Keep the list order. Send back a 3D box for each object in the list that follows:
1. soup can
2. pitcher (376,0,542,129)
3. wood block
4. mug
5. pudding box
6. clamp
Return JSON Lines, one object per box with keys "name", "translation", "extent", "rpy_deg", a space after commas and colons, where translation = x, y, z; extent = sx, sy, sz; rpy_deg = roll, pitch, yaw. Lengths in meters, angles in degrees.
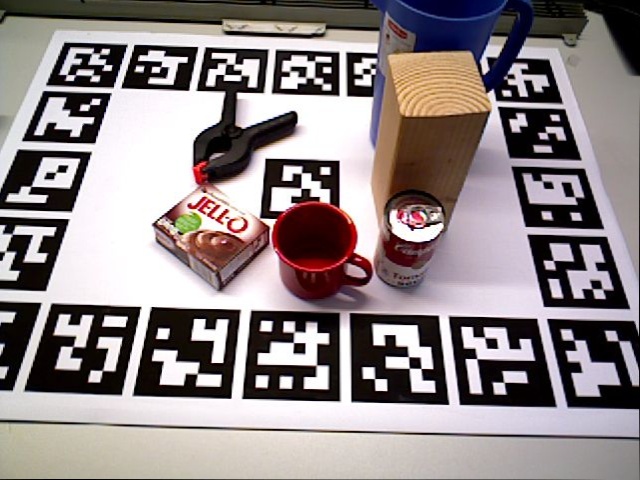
{"name": "soup can", "translation": [0.094, 0.002, 0.594], "extent": [0.067, 0.104, 0.067], "rpy_deg": [0, 58, -1]}
{"name": "pitcher", "translation": [0.144, -0.209, 0.650], "extent": [0.188, 0.247, 0.131], "rpy_deg": [1, 54, 2]}
{"name": "wood block", "translation": [0.116, -0.101, 0.598], "extent": [0.089, 0.211, 0.089], "rpy_deg": [2, 56, -5]}
{"name": "mug", "translation": [0.000, 0.021, 0.594], "extent": [0.117, 0.083, 0.091], "rpy_deg": [33, 59, 20]}
{"name": "pudding box", "translation": [-0.140, -0.010, 0.642], "extent": [0.114, 0.039, 0.088], "rpy_deg": [35, 66, 21]}
{"name": "clamp", "translation": [-0.114, -0.139, 0.733], "extent": [0.122, 0.037, 0.162], "rpy_deg": [31, 62, 9]}
